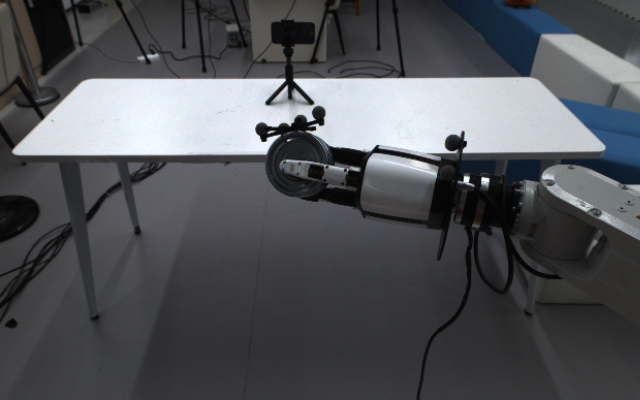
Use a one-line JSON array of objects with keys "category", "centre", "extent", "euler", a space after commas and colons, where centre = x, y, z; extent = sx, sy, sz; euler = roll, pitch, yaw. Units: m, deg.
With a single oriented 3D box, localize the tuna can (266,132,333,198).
[{"category": "tuna can", "centre": [-0.022, -0.040, 0.623], "extent": [0.085, 0.085, 0.034], "euler": [12, 3, 14]}]
